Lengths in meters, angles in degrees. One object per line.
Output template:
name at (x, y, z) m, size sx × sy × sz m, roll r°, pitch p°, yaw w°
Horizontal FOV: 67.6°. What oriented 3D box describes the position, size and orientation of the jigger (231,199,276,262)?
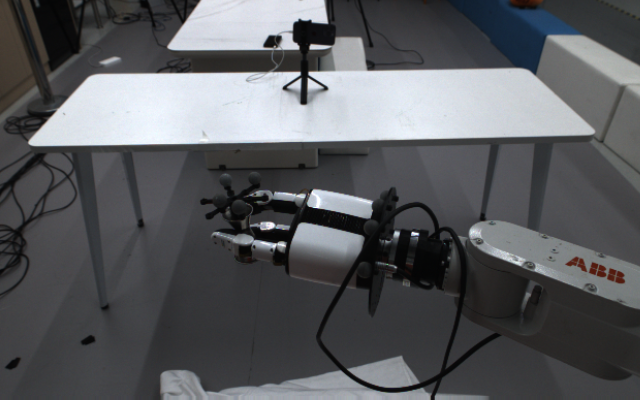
jigger at (-0.095, 0.041, 0.630) m, size 0.043 × 0.071 × 0.043 m, roll -9°, pitch 31°, yaw 5°
